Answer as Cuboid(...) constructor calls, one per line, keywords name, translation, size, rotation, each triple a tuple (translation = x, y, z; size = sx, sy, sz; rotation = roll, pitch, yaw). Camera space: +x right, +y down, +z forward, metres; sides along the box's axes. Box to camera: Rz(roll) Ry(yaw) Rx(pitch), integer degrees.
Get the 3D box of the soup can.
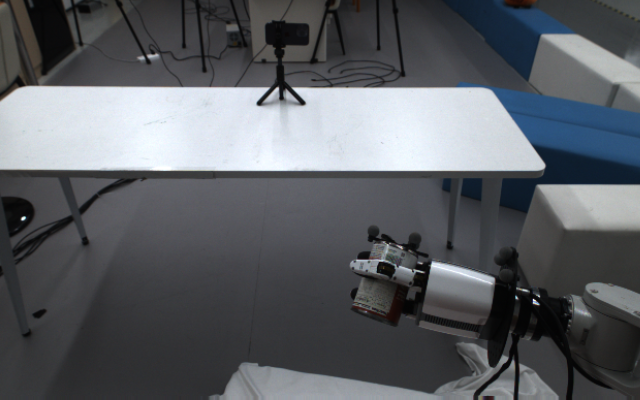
Cuboid(name="soup can", translation=(0.093, 0.115, 0.672), size=(0.067, 0.067, 0.101), rotation=(15, 74, 18))
